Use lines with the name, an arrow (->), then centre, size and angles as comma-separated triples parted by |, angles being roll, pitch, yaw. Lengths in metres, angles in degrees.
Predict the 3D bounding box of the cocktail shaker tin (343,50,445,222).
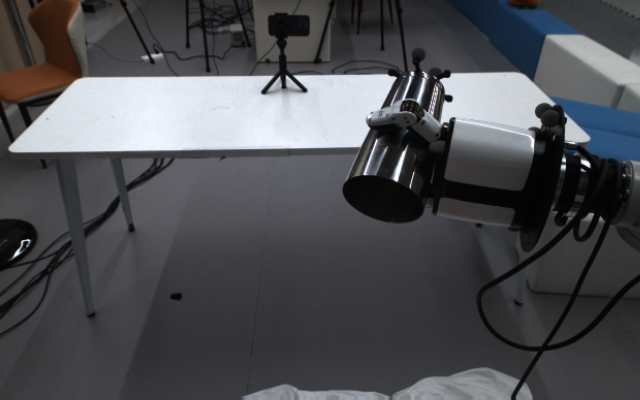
cocktail shaker tin -> 0.096, -0.068, 0.565 | 0.093, 0.093, 0.170 | 14, 61, 17
